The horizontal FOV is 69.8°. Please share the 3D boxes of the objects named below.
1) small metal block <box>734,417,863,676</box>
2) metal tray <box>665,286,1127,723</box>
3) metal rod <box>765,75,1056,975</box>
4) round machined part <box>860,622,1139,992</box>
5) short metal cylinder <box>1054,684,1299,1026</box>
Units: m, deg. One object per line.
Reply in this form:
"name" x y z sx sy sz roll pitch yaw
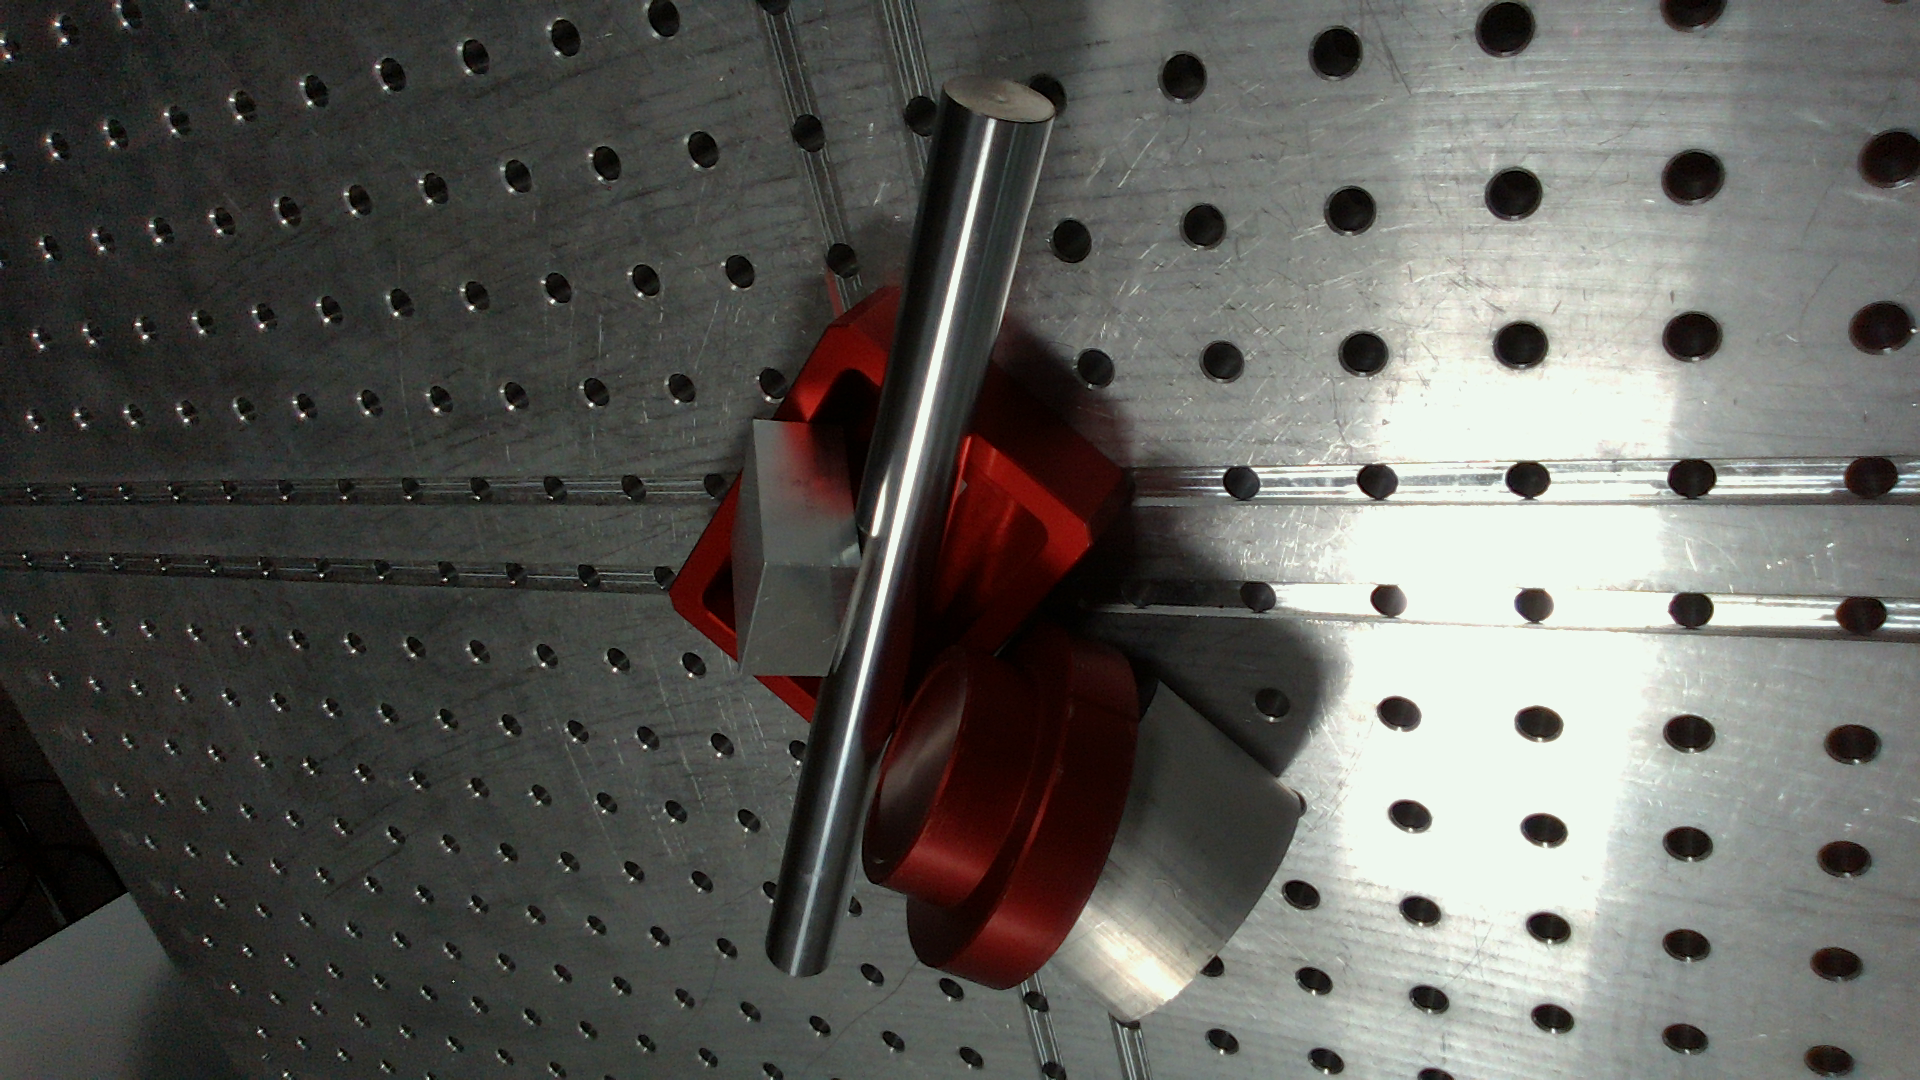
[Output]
"small metal block" -0.046 0.002 0.378 0.025 0.050 0.050 2 140 -17
"metal tray" -0.023 0.002 0.406 0.090 0.030 0.130 40 129 1
"metal rod" -0.023 0.022 0.383 0.025 0.025 0.300 25 128 13
"round machined part" 0.006 0.068 0.374 0.042 0.098 0.098 23 131 -14
"short metal cylinder" 0.049 0.087 0.386 0.050 0.080 0.080 40 129 1
